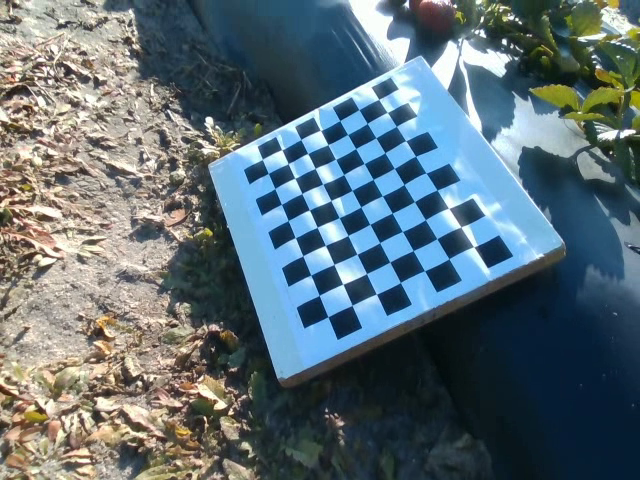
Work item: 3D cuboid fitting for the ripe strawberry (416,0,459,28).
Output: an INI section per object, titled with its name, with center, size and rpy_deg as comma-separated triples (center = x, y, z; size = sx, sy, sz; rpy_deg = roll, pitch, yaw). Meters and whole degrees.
[ripe strawberry]
center = 0.154, -0.288, 0.813
size = 0.056, 0.052, 0.067
rpy_deg = 8, 7, 24
